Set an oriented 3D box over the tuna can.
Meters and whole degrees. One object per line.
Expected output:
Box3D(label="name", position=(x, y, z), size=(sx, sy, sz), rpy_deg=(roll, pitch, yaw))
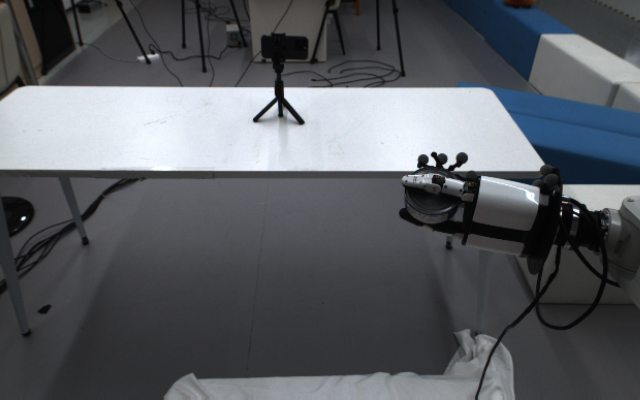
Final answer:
Box3D(label="tuna can", position=(0.172, -0.009, 0.739), size=(0.085, 0.034, 0.085), rpy_deg=(-4, 55, 6))
